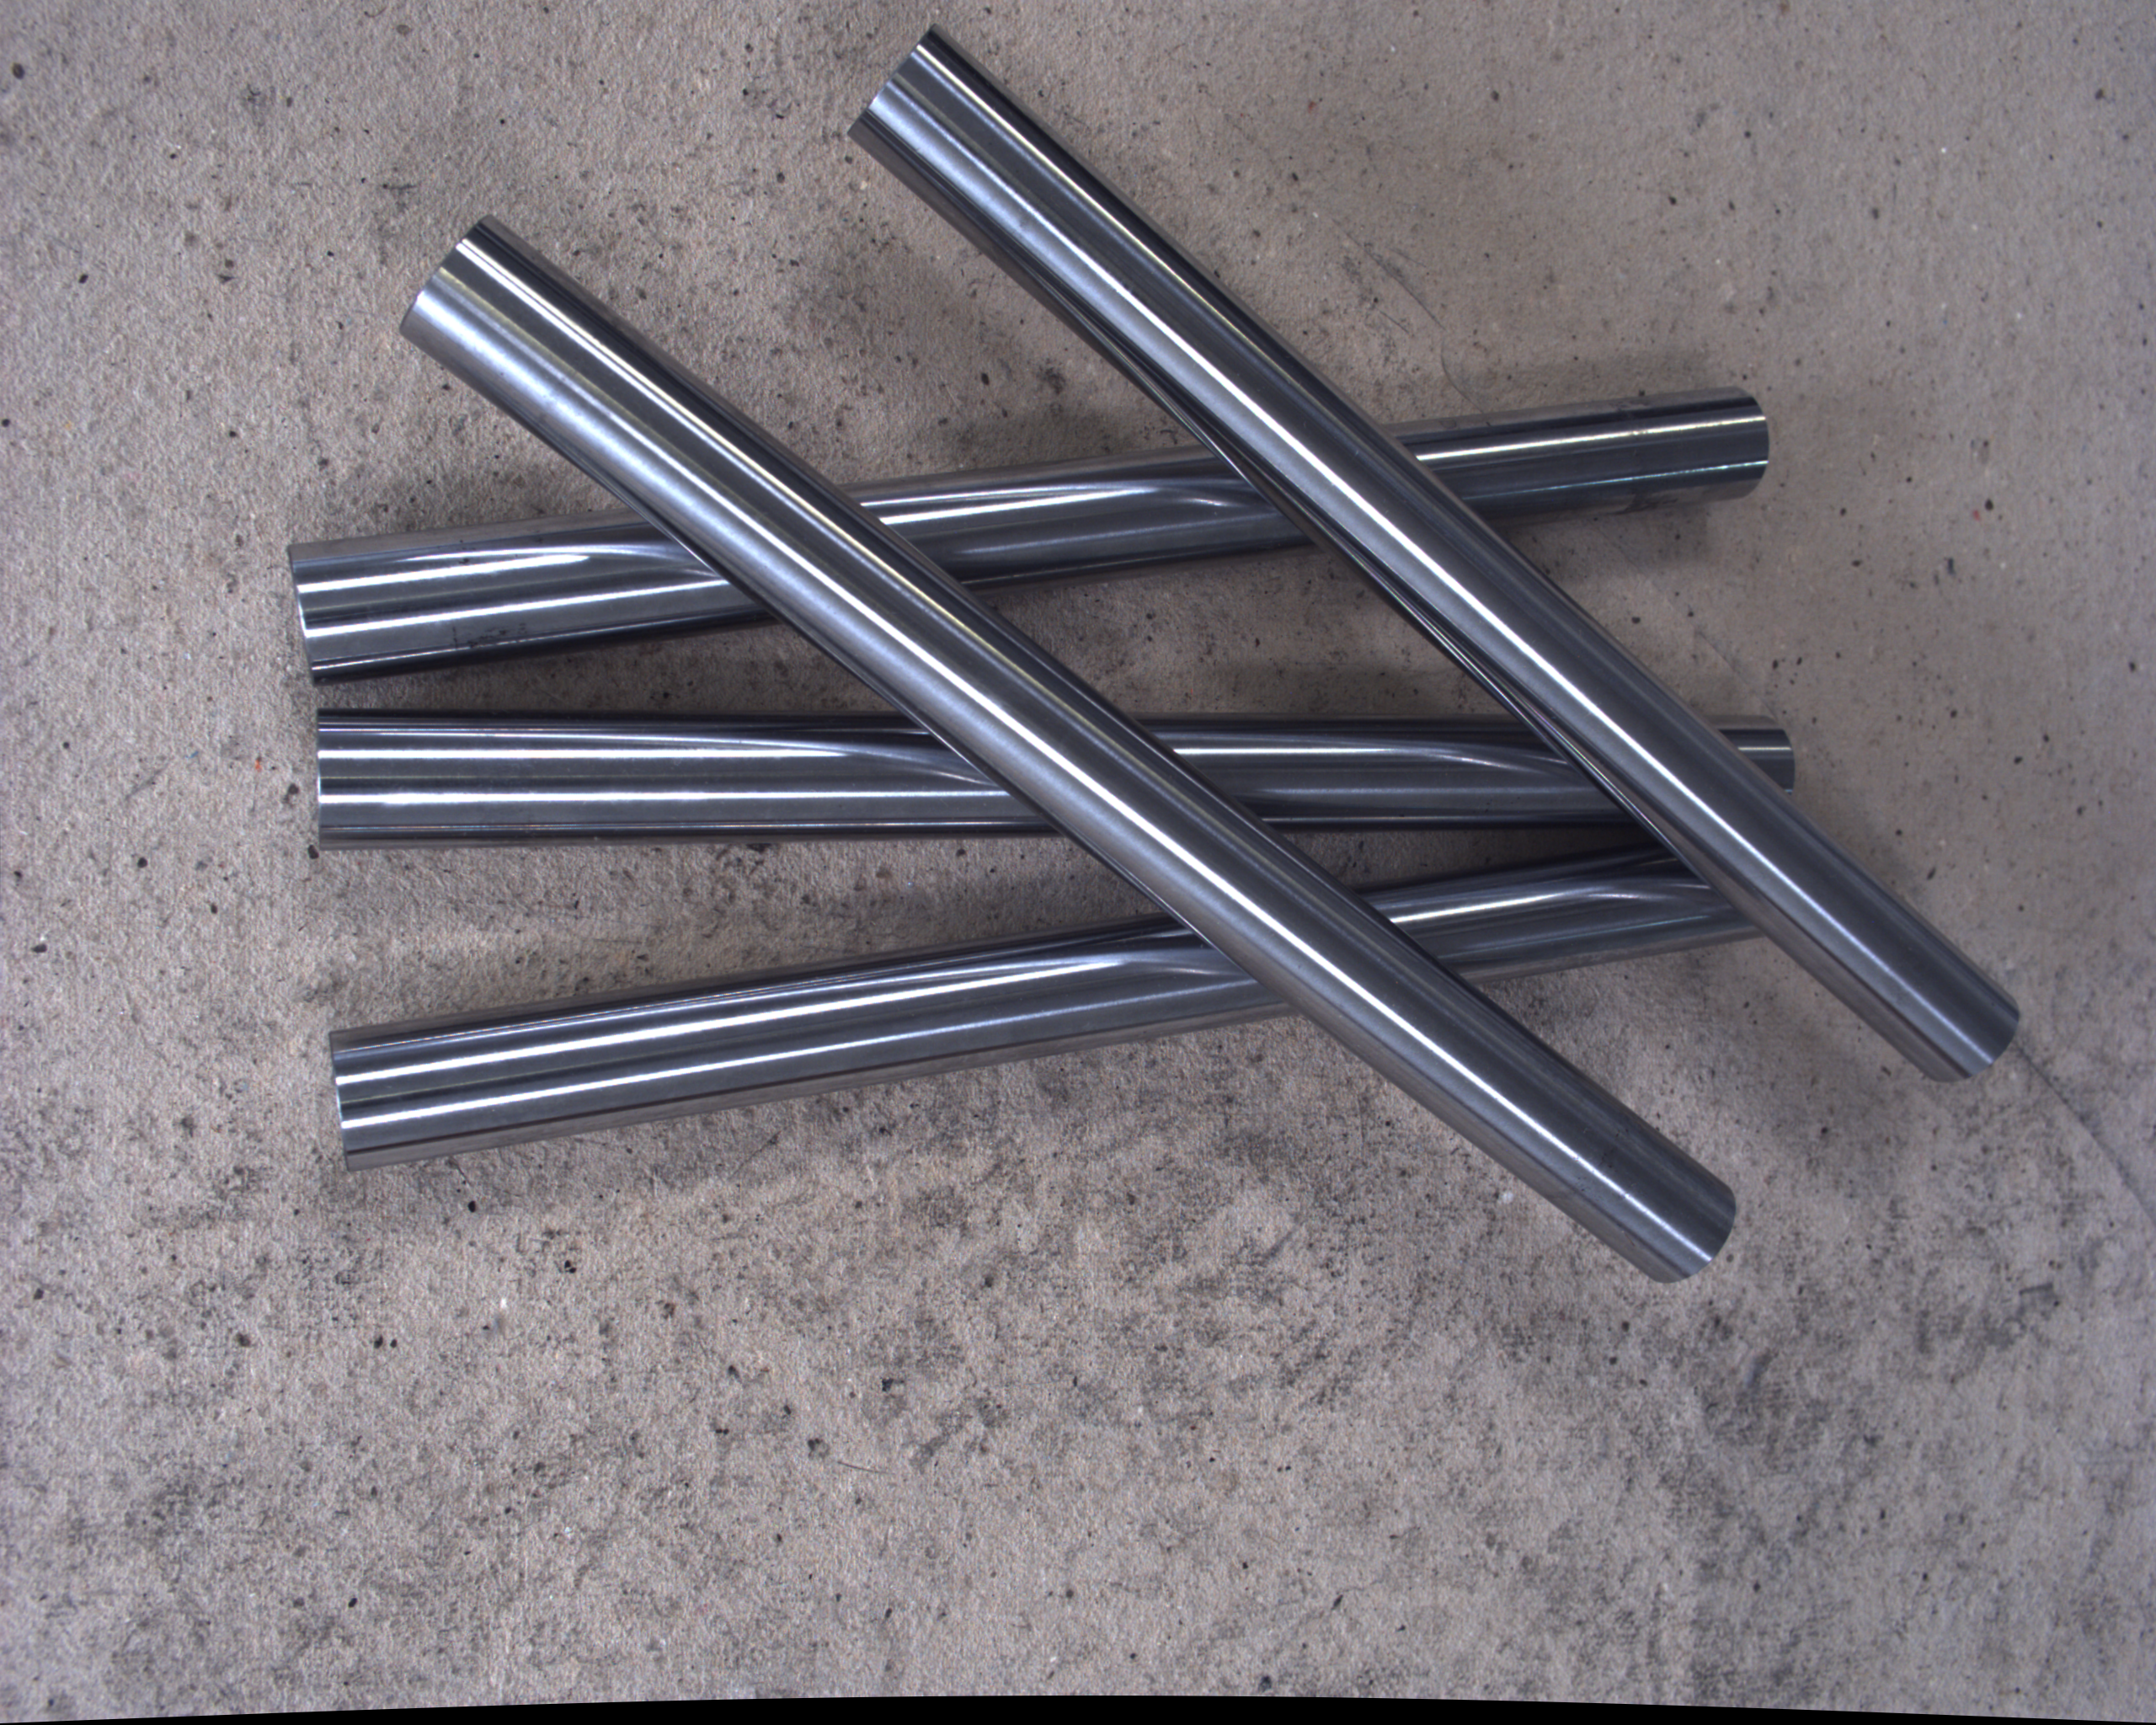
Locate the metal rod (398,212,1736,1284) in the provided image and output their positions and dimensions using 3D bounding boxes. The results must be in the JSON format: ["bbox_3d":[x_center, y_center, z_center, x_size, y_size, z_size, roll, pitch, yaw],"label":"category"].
[{"bbox_3d":[0.010,-0.011,0.387,0.301,0.025,0.025,37,78,-16],"label":"metal rod"}]

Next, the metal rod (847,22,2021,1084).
[{"bbox_3d":[0.081,-0.051,0.413,0.301,0.025,0.025,38,78,-16],"label":"metal rod"}]

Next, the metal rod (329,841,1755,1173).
[{"bbox_3d":[0.012,0.023,0.415,0.302,0.025,0.025,-8,93,-20],"label":"metal rod"}]

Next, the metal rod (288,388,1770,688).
[{"bbox_3d":[0.006,-0.068,0.412,0.302,0.025,0.025,-10,94,-20],"label":"metal rod"}]

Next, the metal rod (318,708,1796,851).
[{"bbox_3d":[0.010,-0.018,0.414,0.302,0.025,0.025,-1,91,-20],"label":"metal rod"}]
